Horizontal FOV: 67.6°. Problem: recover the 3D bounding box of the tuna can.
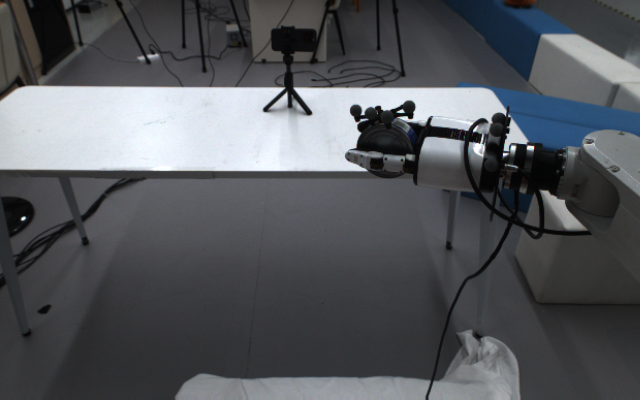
[{"bbox_3d":[0.100,-0.078,0.705,0.085,0.085,0.034,17,37,20],"label":"tuna can"}]
